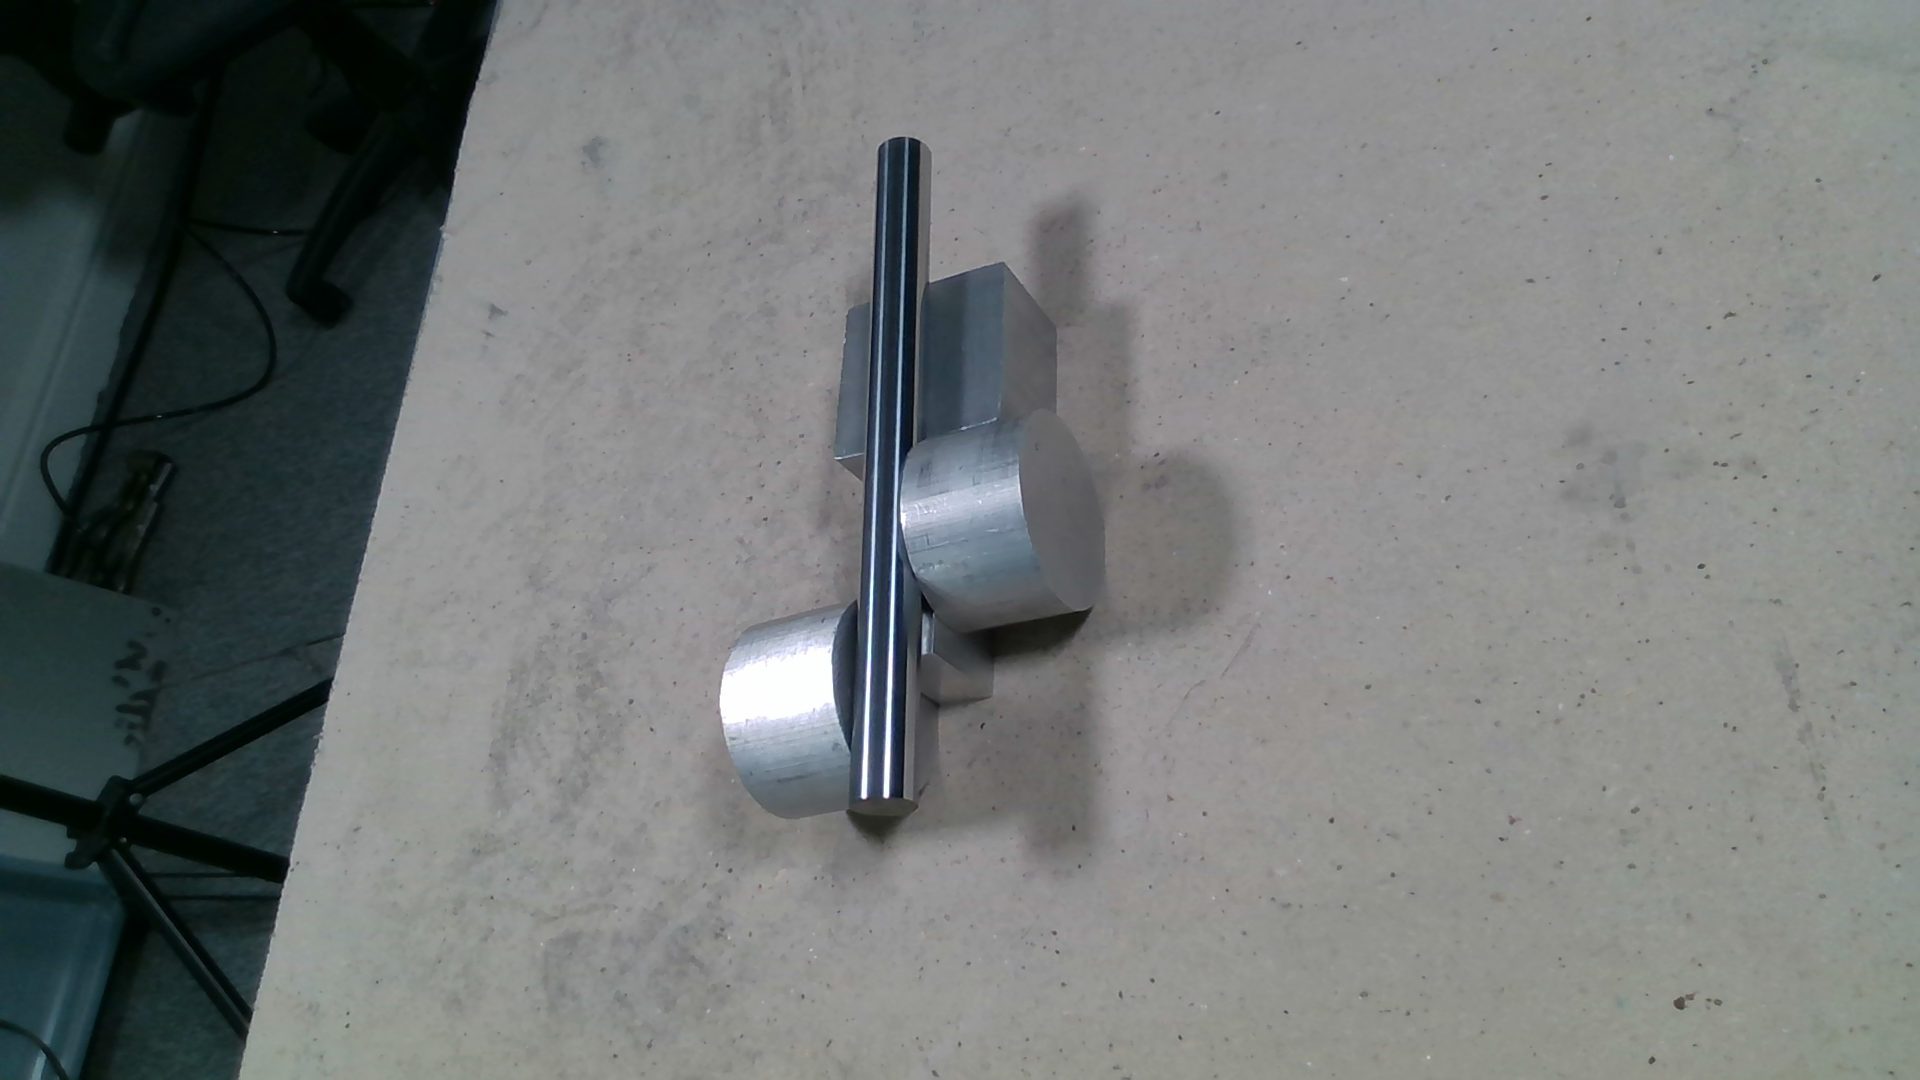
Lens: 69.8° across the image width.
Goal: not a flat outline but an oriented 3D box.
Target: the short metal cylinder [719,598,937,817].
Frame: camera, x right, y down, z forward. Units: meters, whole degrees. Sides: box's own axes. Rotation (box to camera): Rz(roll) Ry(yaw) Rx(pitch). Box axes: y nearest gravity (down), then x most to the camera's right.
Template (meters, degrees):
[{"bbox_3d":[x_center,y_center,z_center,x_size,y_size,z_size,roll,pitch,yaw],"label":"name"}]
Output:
[{"bbox_3d":[-0.051,0.066,0.546,0.050,0.080,0.080,-15,59,25],"label":"short metal cylinder"}]

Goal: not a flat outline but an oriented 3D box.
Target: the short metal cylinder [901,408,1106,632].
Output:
[{"bbox_3d":[0.019,-0.007,0.543,0.050,0.080,0.080,-12,60,26],"label":"short metal cylinder"}]

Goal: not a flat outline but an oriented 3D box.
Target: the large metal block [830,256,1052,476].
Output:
[{"bbox_3d":[-0.007,-0.068,0.605,0.080,0.050,0.080,-11,60,26],"label":"large metal block"}]

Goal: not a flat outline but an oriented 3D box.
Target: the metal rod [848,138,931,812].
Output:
[{"bbox_3d":[-0.026,-0.040,0.557,0.025,0.025,0.299,-13,60,26],"label":"metal rod"}]

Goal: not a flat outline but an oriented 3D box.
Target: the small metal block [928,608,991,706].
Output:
[{"bbox_3d":[-0.010,0.034,0.556,0.025,0.050,0.050,-13,59,25],"label":"small metal block"}]
